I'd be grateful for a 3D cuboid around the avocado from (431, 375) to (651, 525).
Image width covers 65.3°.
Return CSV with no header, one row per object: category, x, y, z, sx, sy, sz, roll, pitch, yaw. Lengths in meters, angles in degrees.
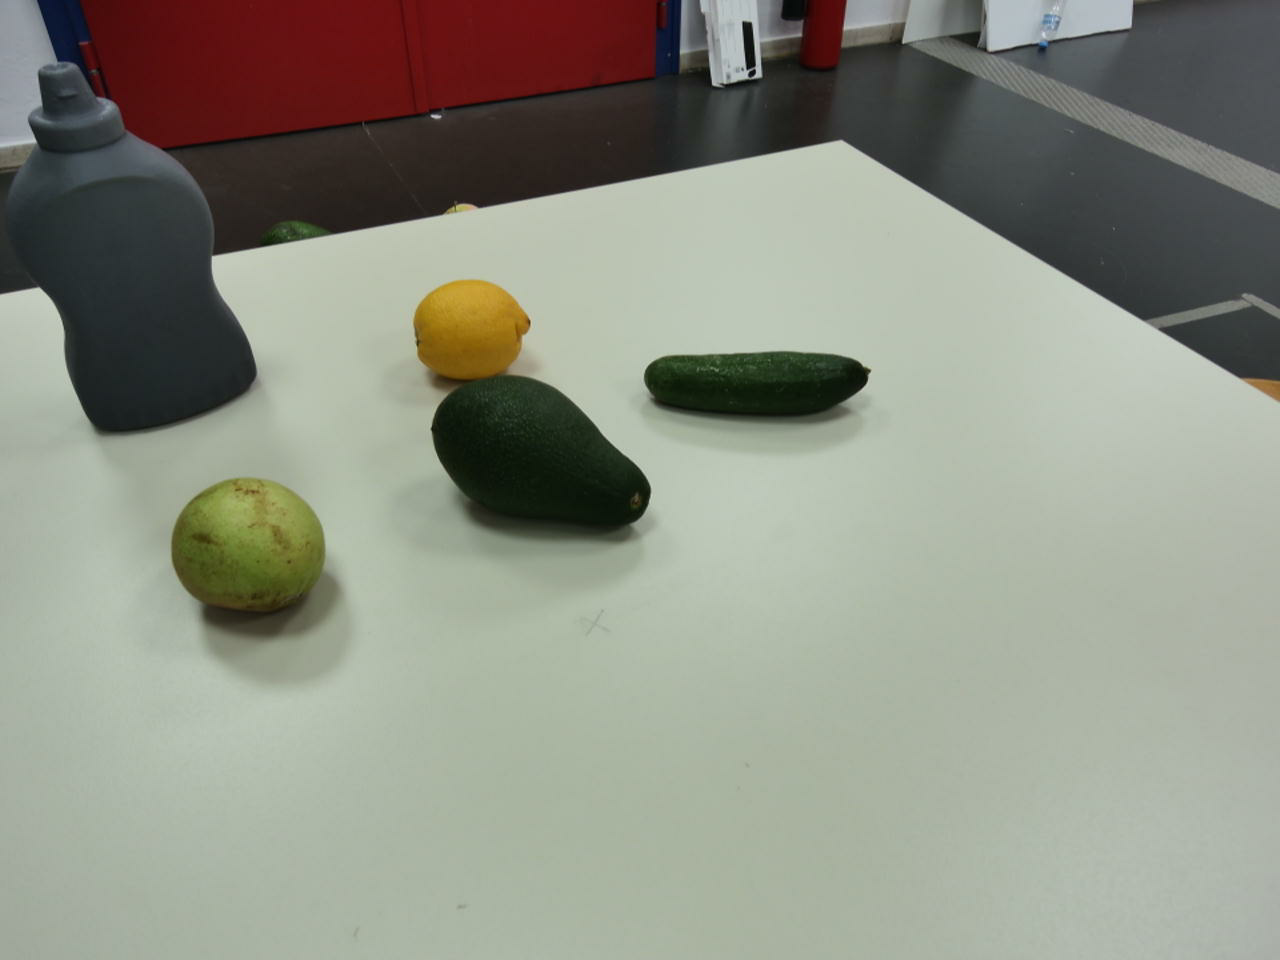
avocado,-0.053,-0.013,0.506,0.110,0.071,0.072,29,47,31
